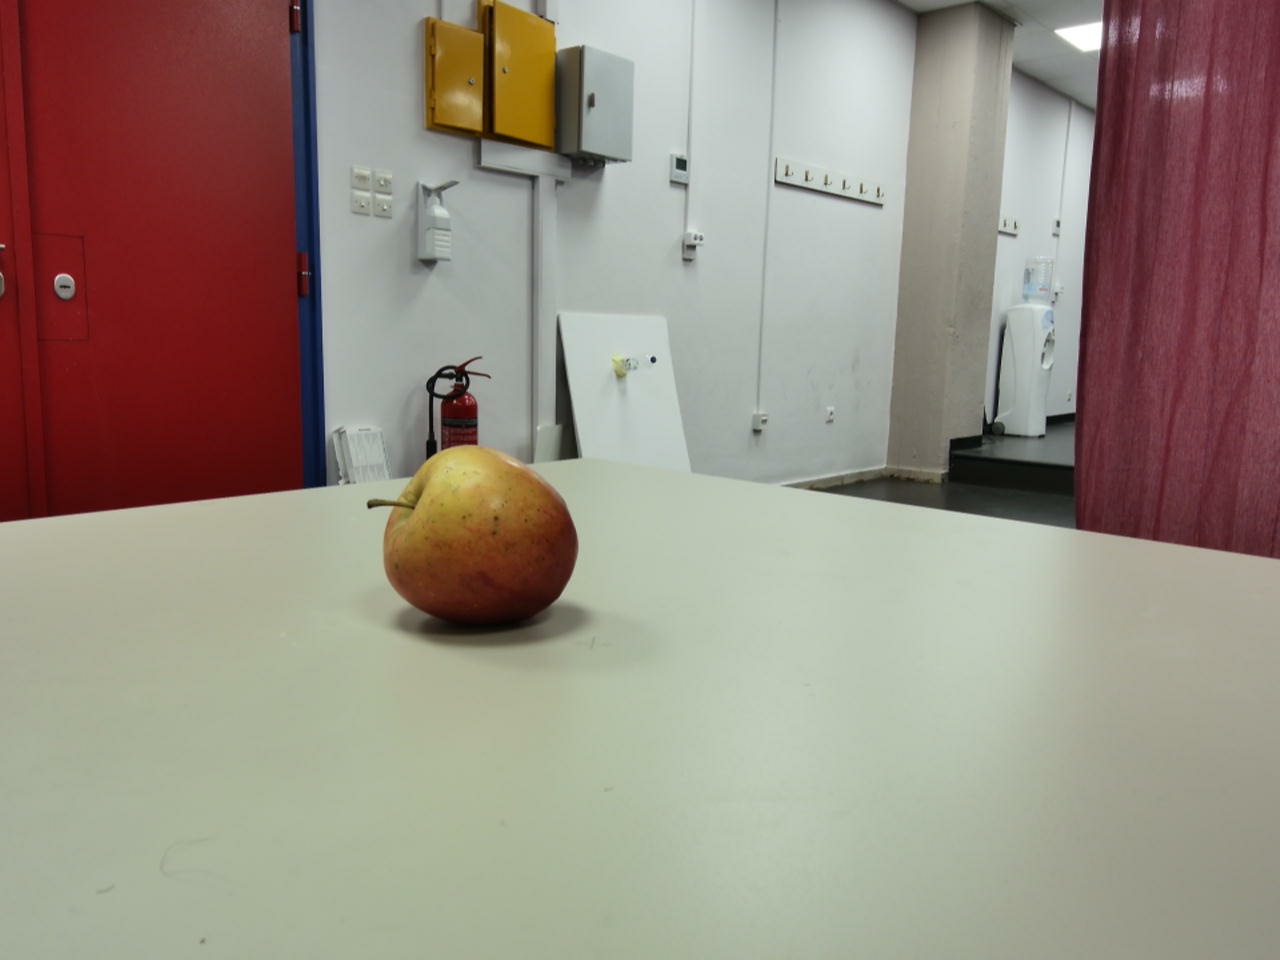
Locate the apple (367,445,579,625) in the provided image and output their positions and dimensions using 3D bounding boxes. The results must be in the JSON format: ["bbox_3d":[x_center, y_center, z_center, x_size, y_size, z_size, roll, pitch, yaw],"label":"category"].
[{"bbox_3d":[-0.077,0.027,0.480,0.093,0.084,0.086,2,6,6],"label":"apple"}]
